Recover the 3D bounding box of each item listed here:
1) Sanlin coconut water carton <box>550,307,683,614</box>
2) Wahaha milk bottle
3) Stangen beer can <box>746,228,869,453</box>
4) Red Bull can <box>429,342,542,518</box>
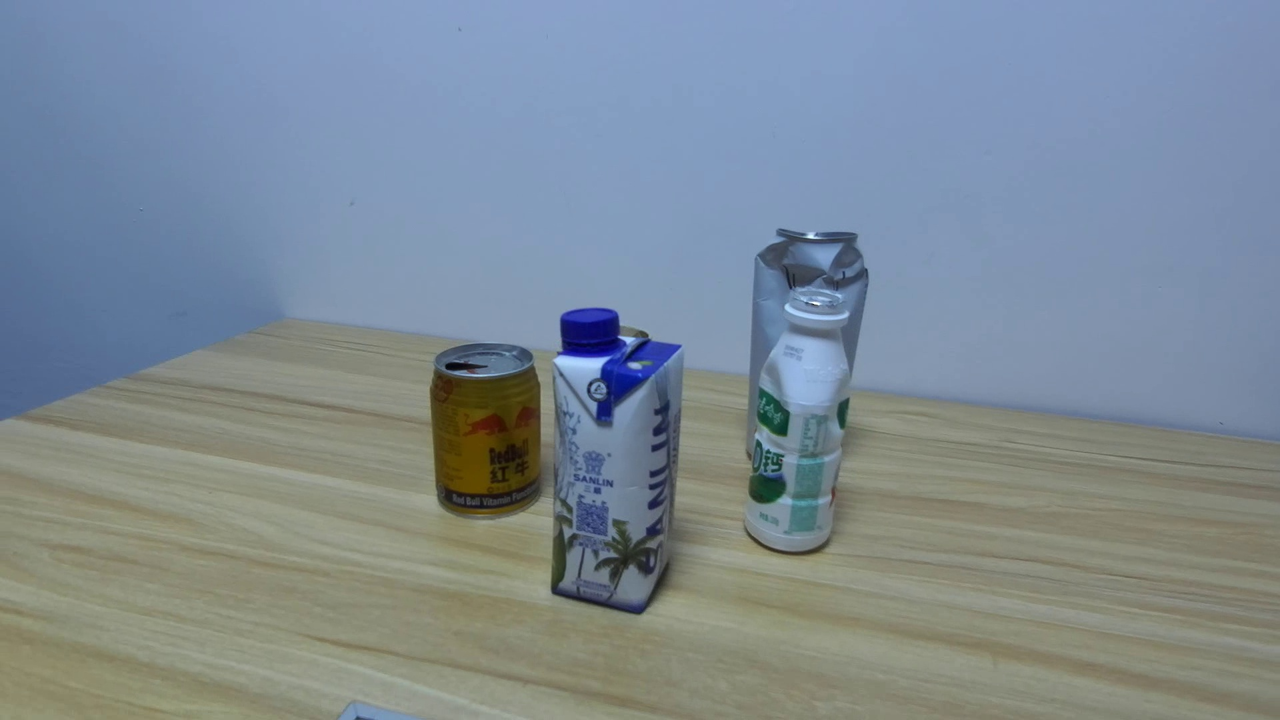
[{"bbox_3d":[-0.012,0.048,0.357,0.060,0.144,0.061,9,20,16],"label":"Sanlin coconut water carton"},{"bbox_3d":[0.093,0.035,0.398,0.055,0.149,0.055,3,20,-1],"label":"Wahaha milk bottle"},{"bbox_3d":[0.113,-0.006,0.489,0.066,0.166,0.065,-14,24,-42],"label":"Stangen beer can"},{"bbox_3d":[-0.095,0.043,0.442,0.067,0.093,0.067,2,19,0],"label":"Red Bull can"}]
